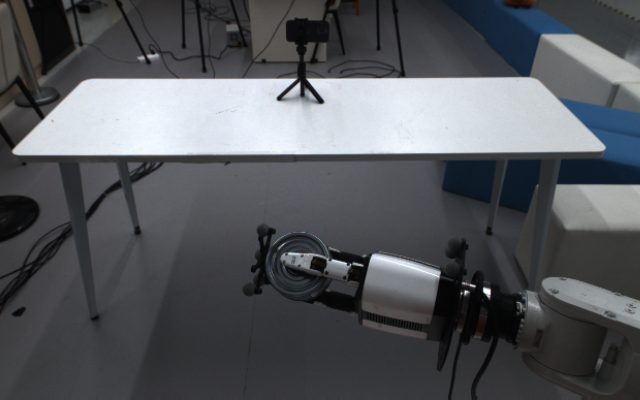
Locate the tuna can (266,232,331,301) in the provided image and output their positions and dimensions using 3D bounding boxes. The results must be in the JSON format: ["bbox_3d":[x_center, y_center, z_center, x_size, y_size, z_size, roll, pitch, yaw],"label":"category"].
[{"bbox_3d":[-0.022,0.087,0.616,0.085,0.034,0.085,-2,69,6],"label":"tuna can"}]
